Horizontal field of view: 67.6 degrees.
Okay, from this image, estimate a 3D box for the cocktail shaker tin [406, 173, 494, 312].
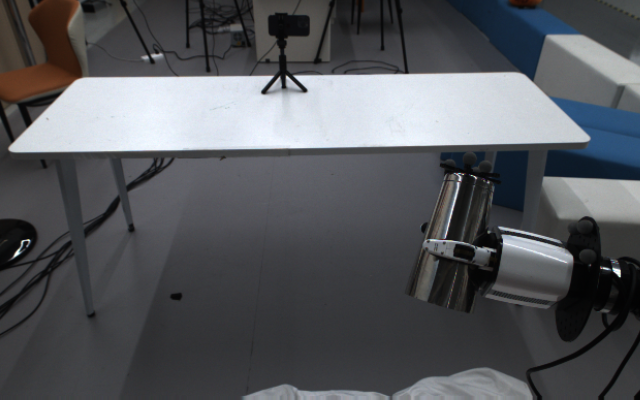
[{"bbox_3d":[0.180,0.054,0.646,0.093,0.170,0.093,16,-4,1],"label":"cocktail shaker tin"}]
